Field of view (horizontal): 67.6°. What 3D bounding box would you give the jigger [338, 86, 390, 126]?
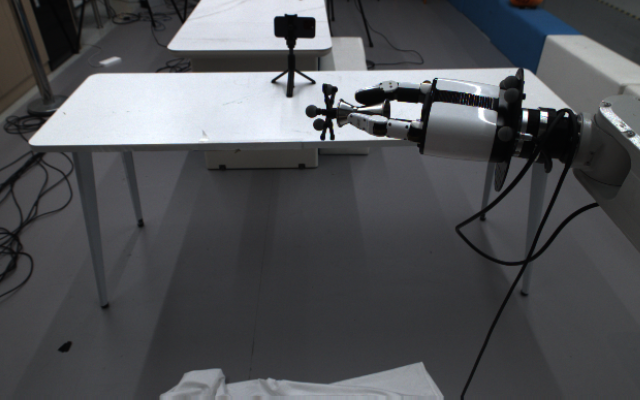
[{"bbox_3d":[0.068,-0.127,0.680,0.071,0.043,0.043,4,34,20],"label":"jigger"}]
